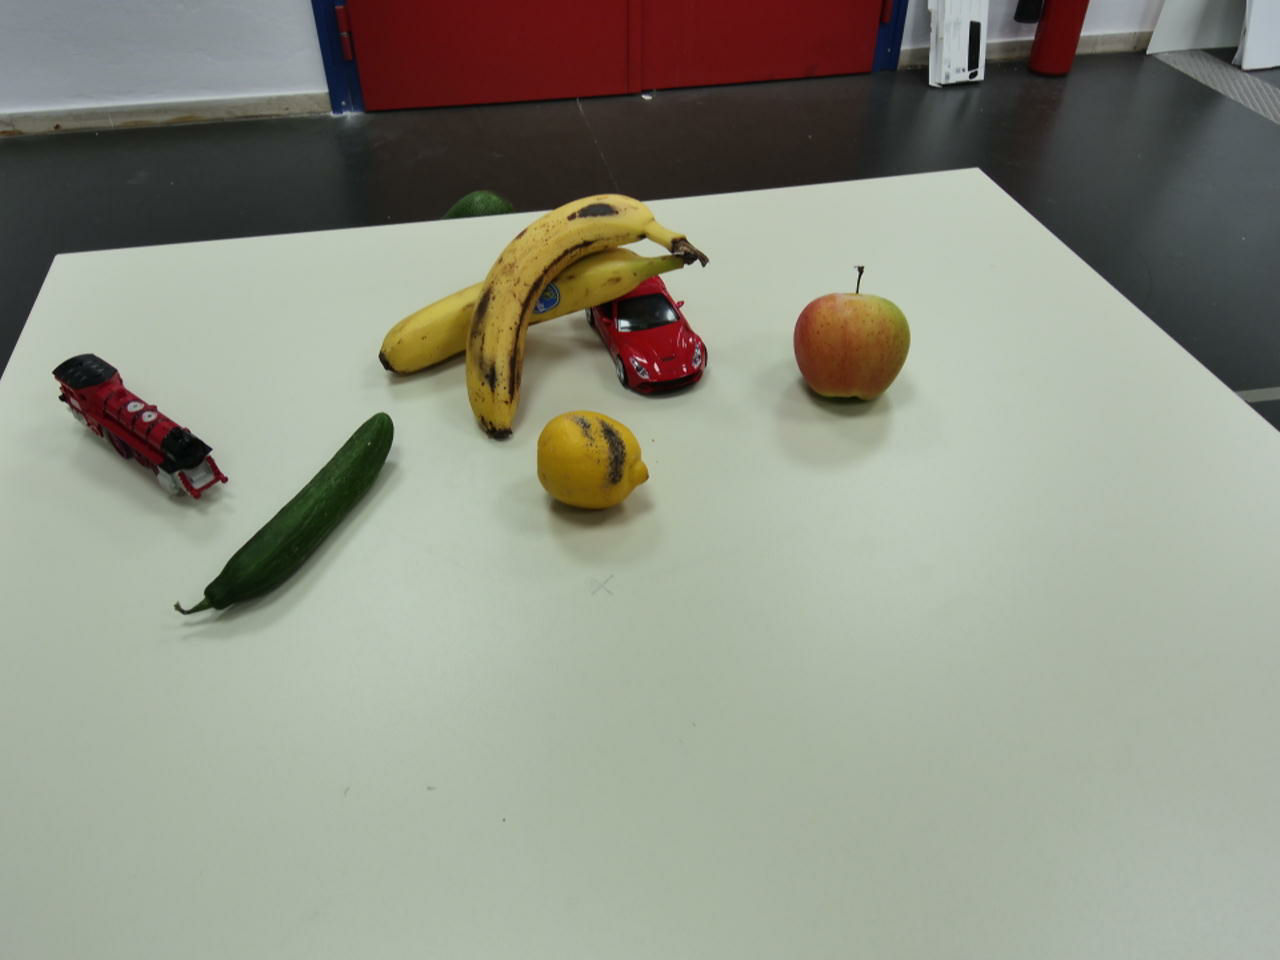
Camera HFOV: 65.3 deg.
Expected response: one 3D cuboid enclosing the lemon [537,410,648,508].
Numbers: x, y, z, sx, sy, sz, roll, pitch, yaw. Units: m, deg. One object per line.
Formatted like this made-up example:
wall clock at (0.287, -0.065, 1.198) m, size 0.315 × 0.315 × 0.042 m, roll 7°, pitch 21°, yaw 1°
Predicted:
lemon at (-0.030, -0.012, 0.581) m, size 0.061 × 0.056 × 0.058 m, roll -14°, pitch 41°, yaw -16°
